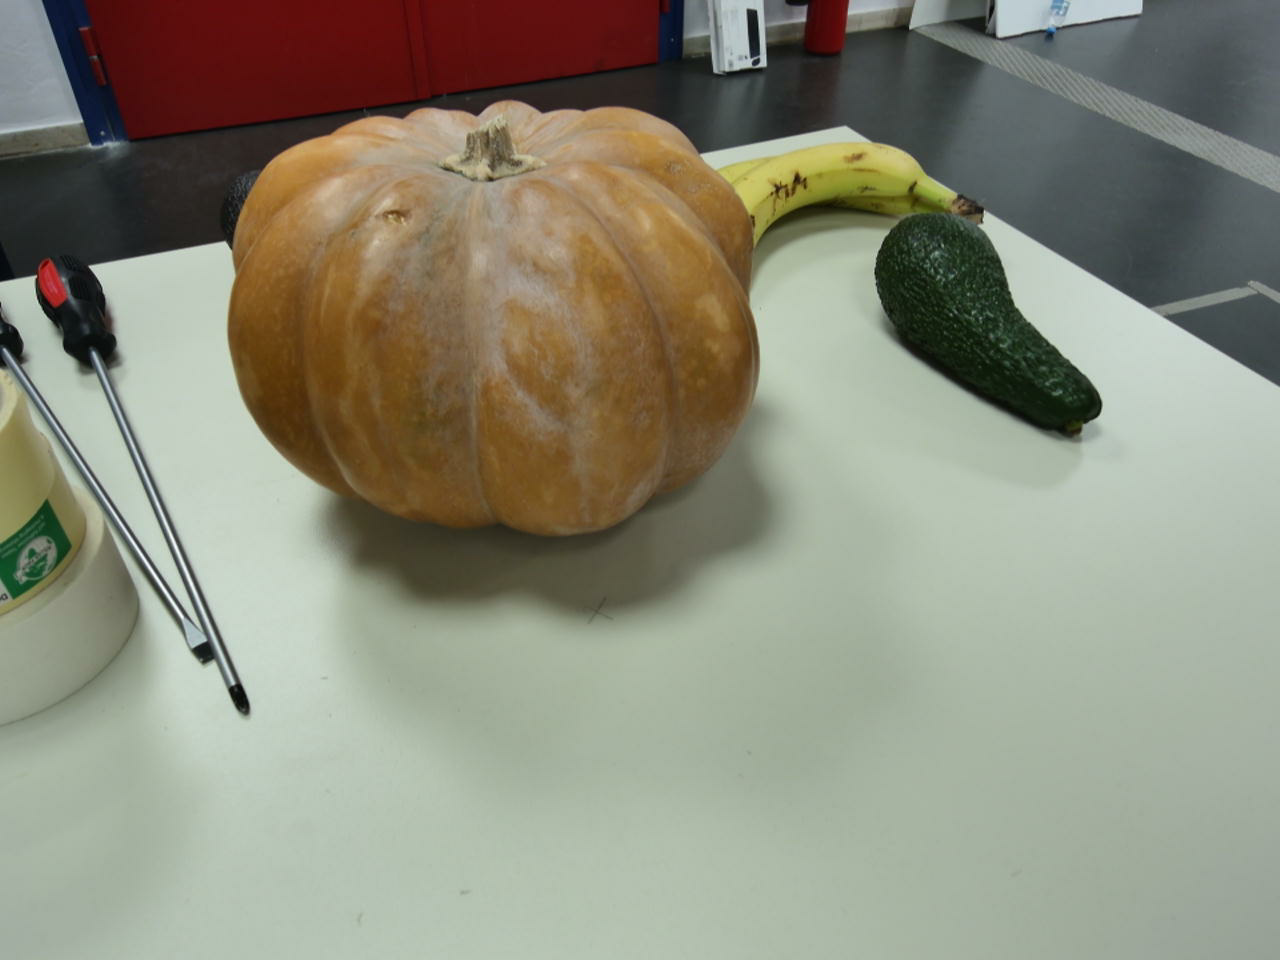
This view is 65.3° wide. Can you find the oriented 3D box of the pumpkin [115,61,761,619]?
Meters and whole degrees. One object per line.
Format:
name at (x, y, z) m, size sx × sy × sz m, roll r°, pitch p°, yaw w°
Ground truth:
pumpkin at (-0.067, -0.087, 0.499) m, size 0.277 × 0.181 × 0.277 m, roll 0°, pitch 39°, yaw 0°
